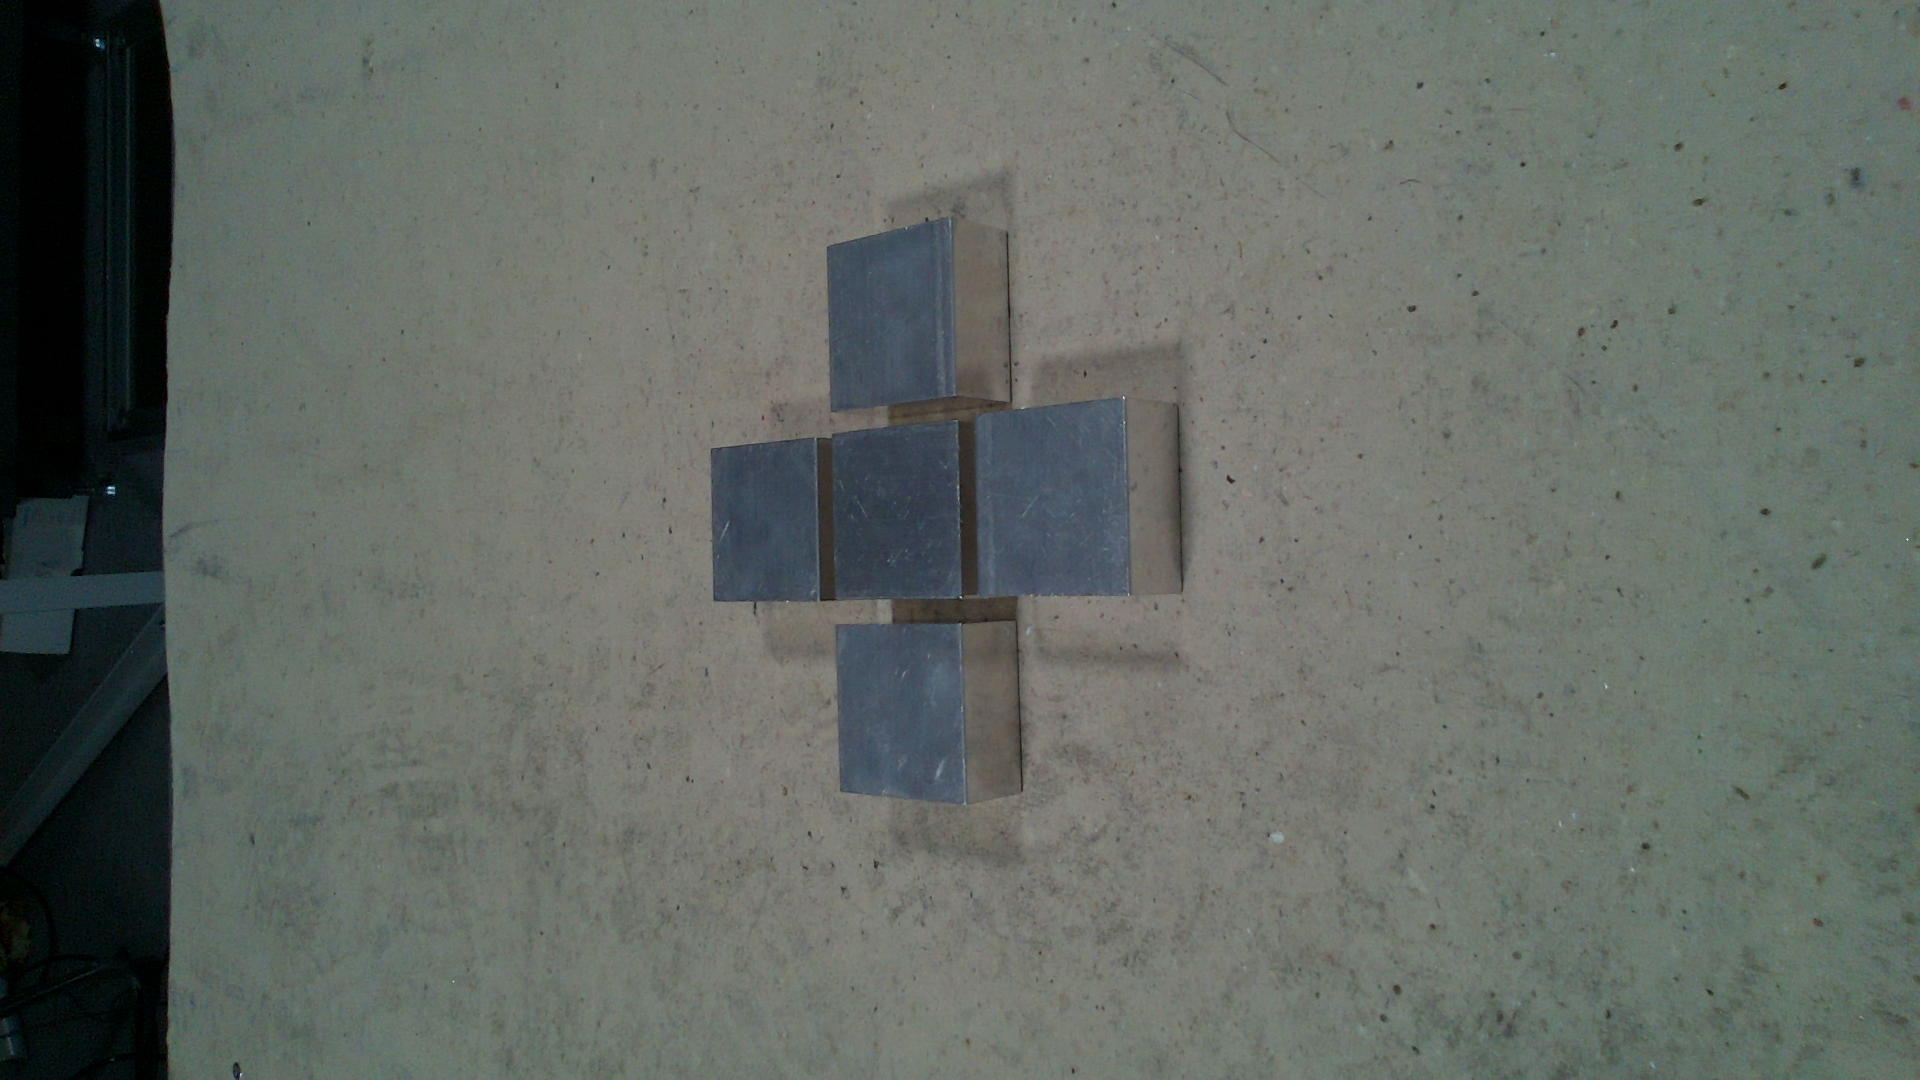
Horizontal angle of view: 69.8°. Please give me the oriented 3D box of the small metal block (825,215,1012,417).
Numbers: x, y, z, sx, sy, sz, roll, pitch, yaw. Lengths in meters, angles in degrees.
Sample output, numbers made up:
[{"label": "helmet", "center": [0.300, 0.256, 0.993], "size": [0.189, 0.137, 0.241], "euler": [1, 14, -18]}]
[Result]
[{"label": "small metal block", "center": [-0.013, -0.064, 0.406], "size": [0.050, 0.025, 0.050], "euler": [-3, 88, 40]}]

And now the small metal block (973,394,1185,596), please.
[{"label": "small metal block", "center": [0.031, -0.011, 0.369], "size": [0.050, 0.025, 0.050], "euler": [-3, 88, 40]}]

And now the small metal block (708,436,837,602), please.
[{"label": "small metal block", "center": [-0.054, -0.006, 0.441], "size": [0.050, 0.025, 0.050], "euler": [-3, 88, 40]}]

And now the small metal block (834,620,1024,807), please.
[{"label": "small metal block", "center": [-0.010, 0.049, 0.403], "size": [0.050, 0.025, 0.050], "euler": [-3, 88, 40]}]

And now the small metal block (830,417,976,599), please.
[{"label": "small metal block", "center": [-0.011, -0.008, 0.404], "size": [0.050, 0.025, 0.050], "euler": [-3, 88, 40]}]
